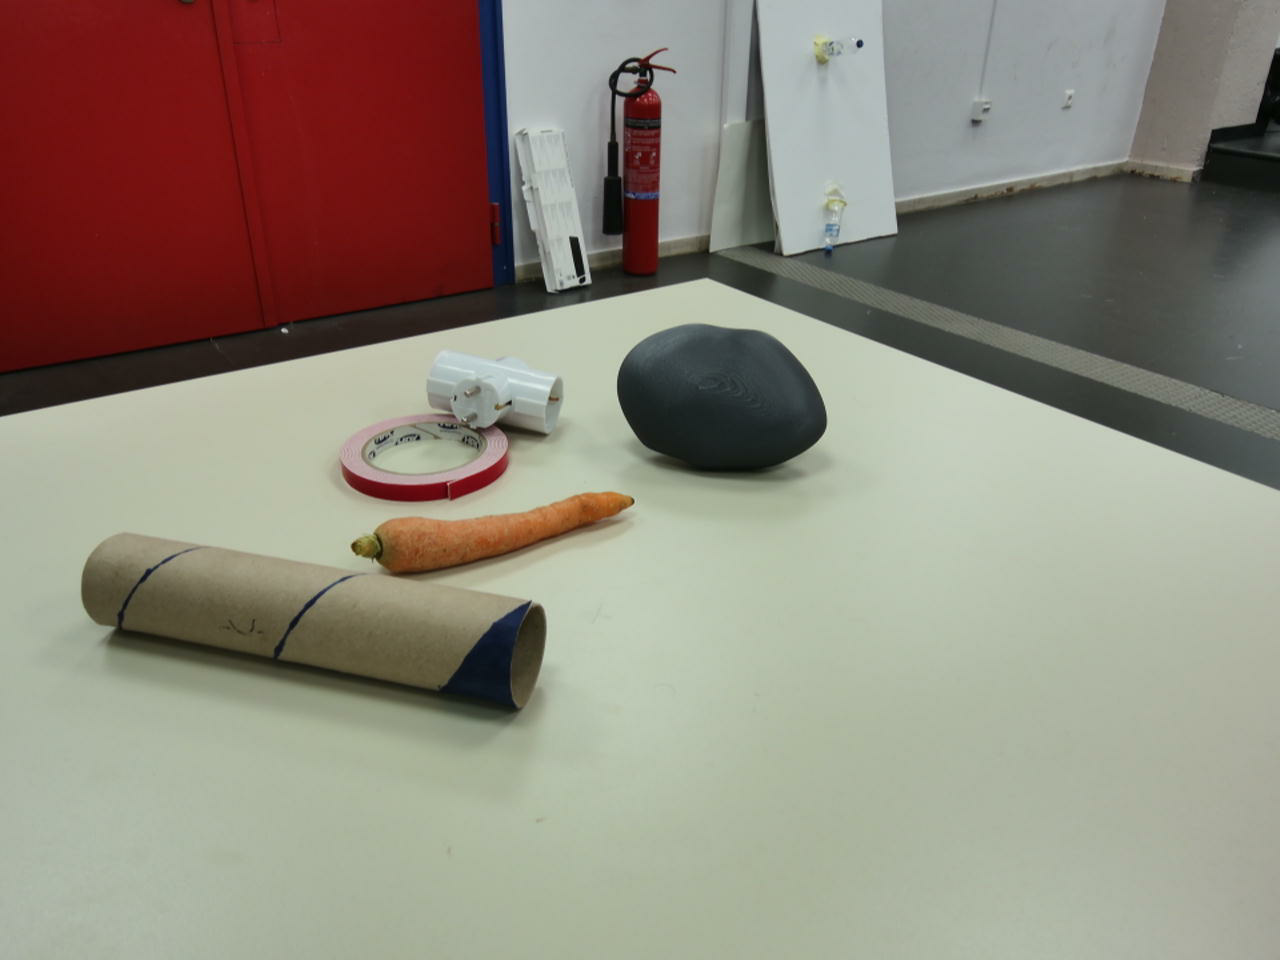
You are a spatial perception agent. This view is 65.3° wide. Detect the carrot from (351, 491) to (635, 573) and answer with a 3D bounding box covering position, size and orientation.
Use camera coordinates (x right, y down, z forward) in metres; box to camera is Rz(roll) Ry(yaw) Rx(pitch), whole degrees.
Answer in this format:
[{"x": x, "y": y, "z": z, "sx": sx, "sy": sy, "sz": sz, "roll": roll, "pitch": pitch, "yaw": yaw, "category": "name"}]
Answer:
[{"x": -0.076, "y": 0.025, "z": 0.567, "sx": 0.173, "sy": 0.032, "sz": 0.030, "roll": -12, "pitch": 29, "yaw": -25, "category": "carrot"}]
